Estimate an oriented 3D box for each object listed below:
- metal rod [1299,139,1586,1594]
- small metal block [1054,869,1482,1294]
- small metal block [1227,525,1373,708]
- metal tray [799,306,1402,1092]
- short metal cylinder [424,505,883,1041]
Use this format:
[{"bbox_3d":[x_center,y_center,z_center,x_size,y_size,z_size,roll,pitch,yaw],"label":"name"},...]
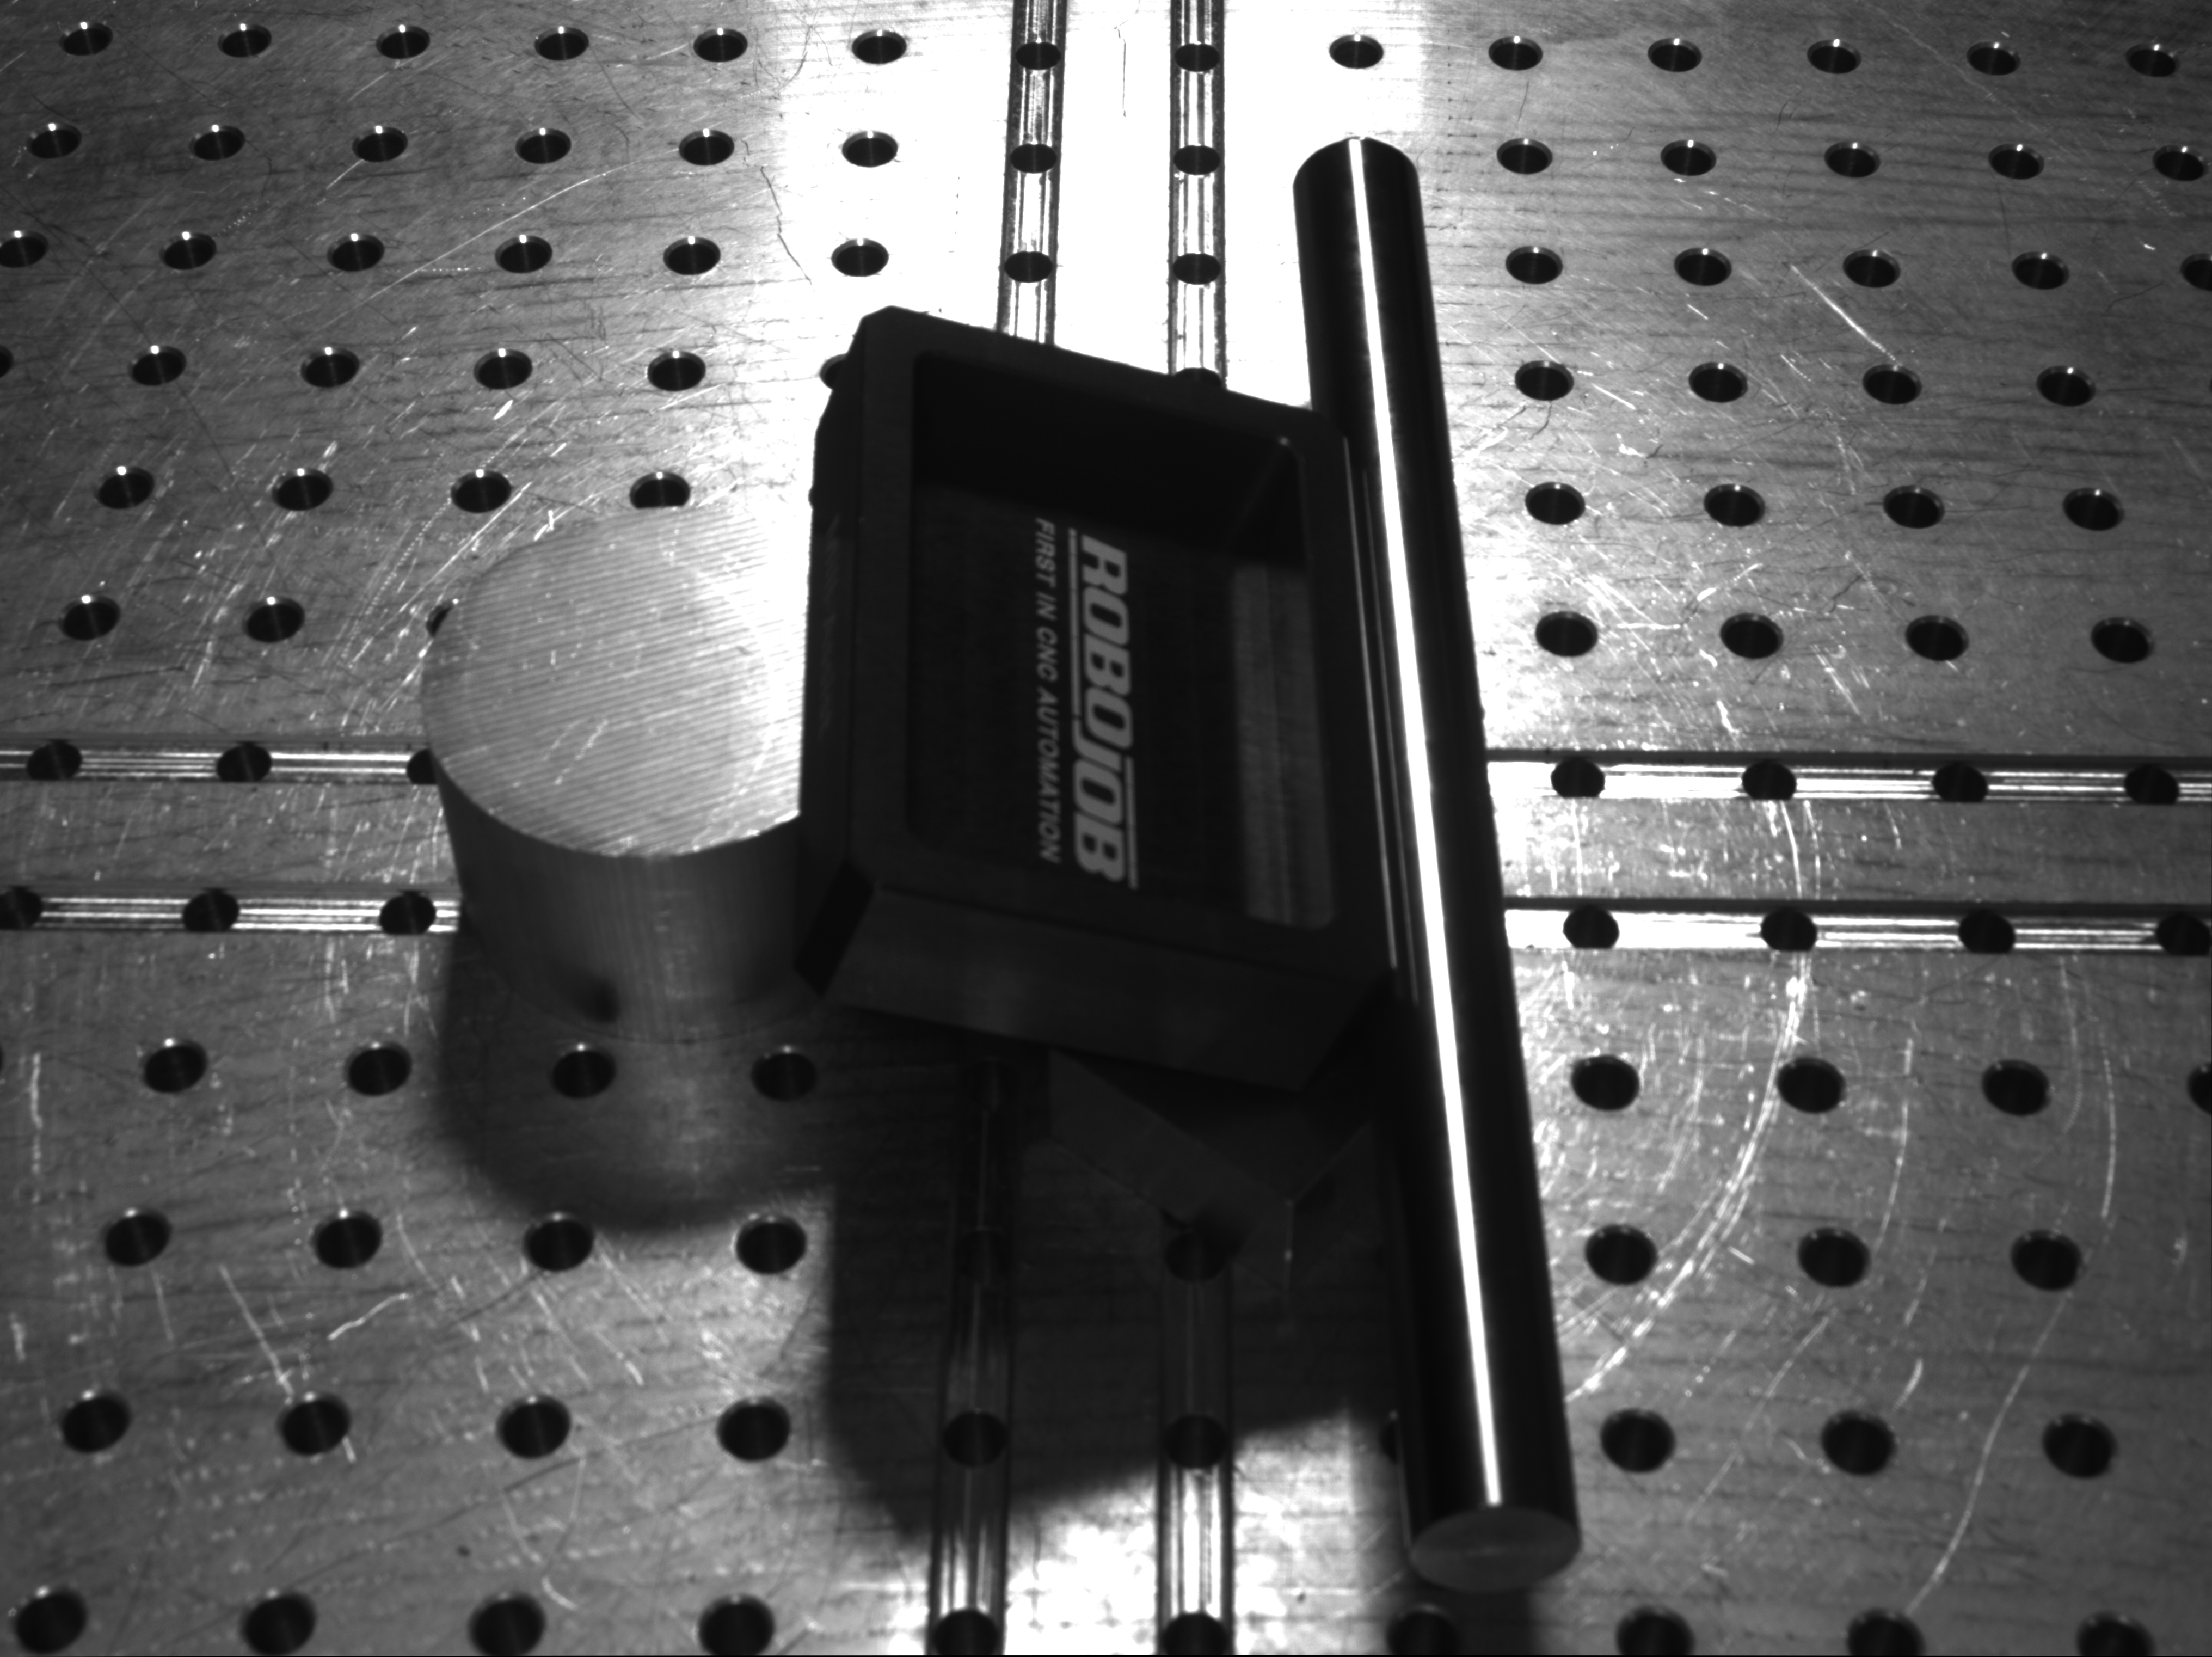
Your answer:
[{"bbox_3d":[0.053,-0.011,0.621,0.025,0.025,0.300,-1,50,-1],"label":"metal rod"},{"bbox_3d":[0.027,0.041,0.609,0.050,0.025,0.050,32,57,24],"label":"small metal block"},{"bbox_3d":[0.037,-0.026,0.667,0.050,0.025,0.050,-12,51,-10],"label":"small metal block"},{"bbox_3d":[-0.002,-0.024,0.610,0.090,0.030,0.130,12,48,-16],"label":"metal tray"},{"bbox_3d":[-0.075,-0.010,0.636,0.080,0.050,0.080,0,50,0],"label":"short metal cylinder"}]
